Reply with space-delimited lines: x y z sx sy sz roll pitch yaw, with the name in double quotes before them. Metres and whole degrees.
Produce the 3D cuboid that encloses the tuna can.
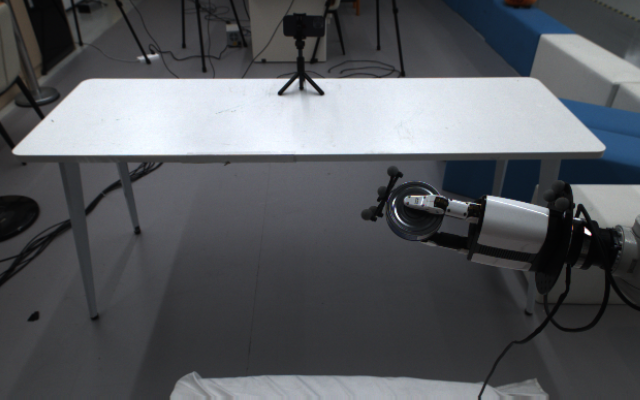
"tuna can" 0.142 0.014 0.716 0.085 0.034 0.085 -2 71 5
